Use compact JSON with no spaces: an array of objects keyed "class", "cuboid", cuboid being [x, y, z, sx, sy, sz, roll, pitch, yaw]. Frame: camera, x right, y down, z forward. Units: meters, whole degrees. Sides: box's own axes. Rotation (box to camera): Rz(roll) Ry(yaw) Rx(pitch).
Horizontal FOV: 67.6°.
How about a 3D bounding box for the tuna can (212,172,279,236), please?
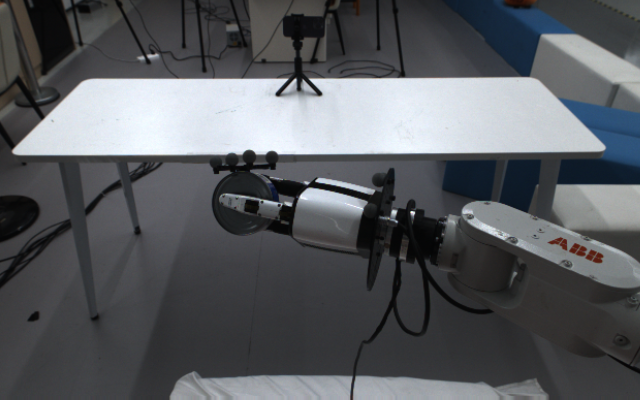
[{"class":"tuna can","cuboid":[-0.094,0.005,0.652,0.085,0.085,0.034,10,3,11]}]
